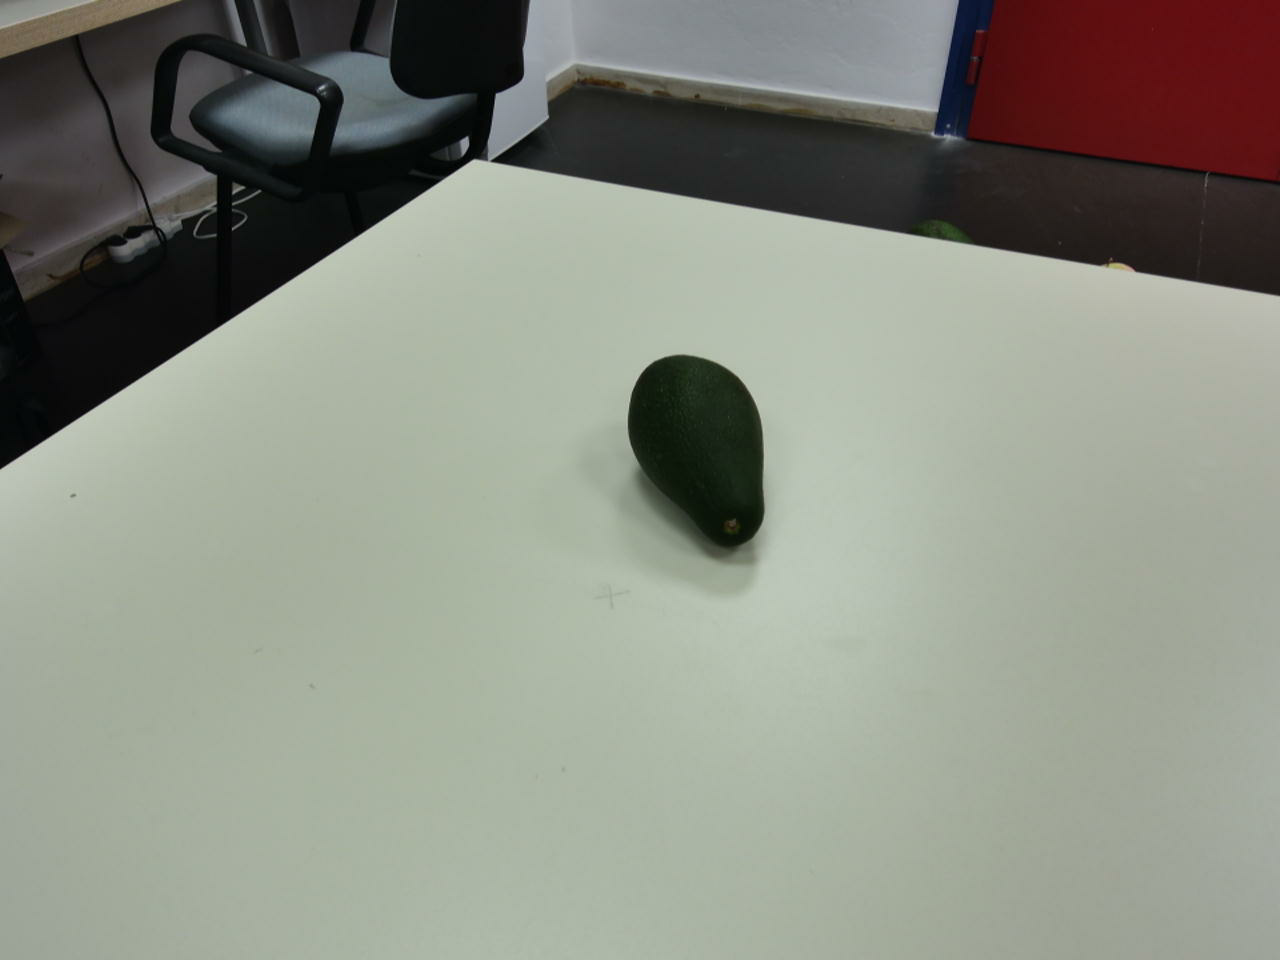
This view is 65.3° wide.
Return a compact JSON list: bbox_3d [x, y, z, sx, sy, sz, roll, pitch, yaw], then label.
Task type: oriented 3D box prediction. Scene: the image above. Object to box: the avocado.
[{"bbox_3d":[0.028,-0.020,0.522,0.072,0.071,0.109,2,38,2],"label":"avocado"}]
